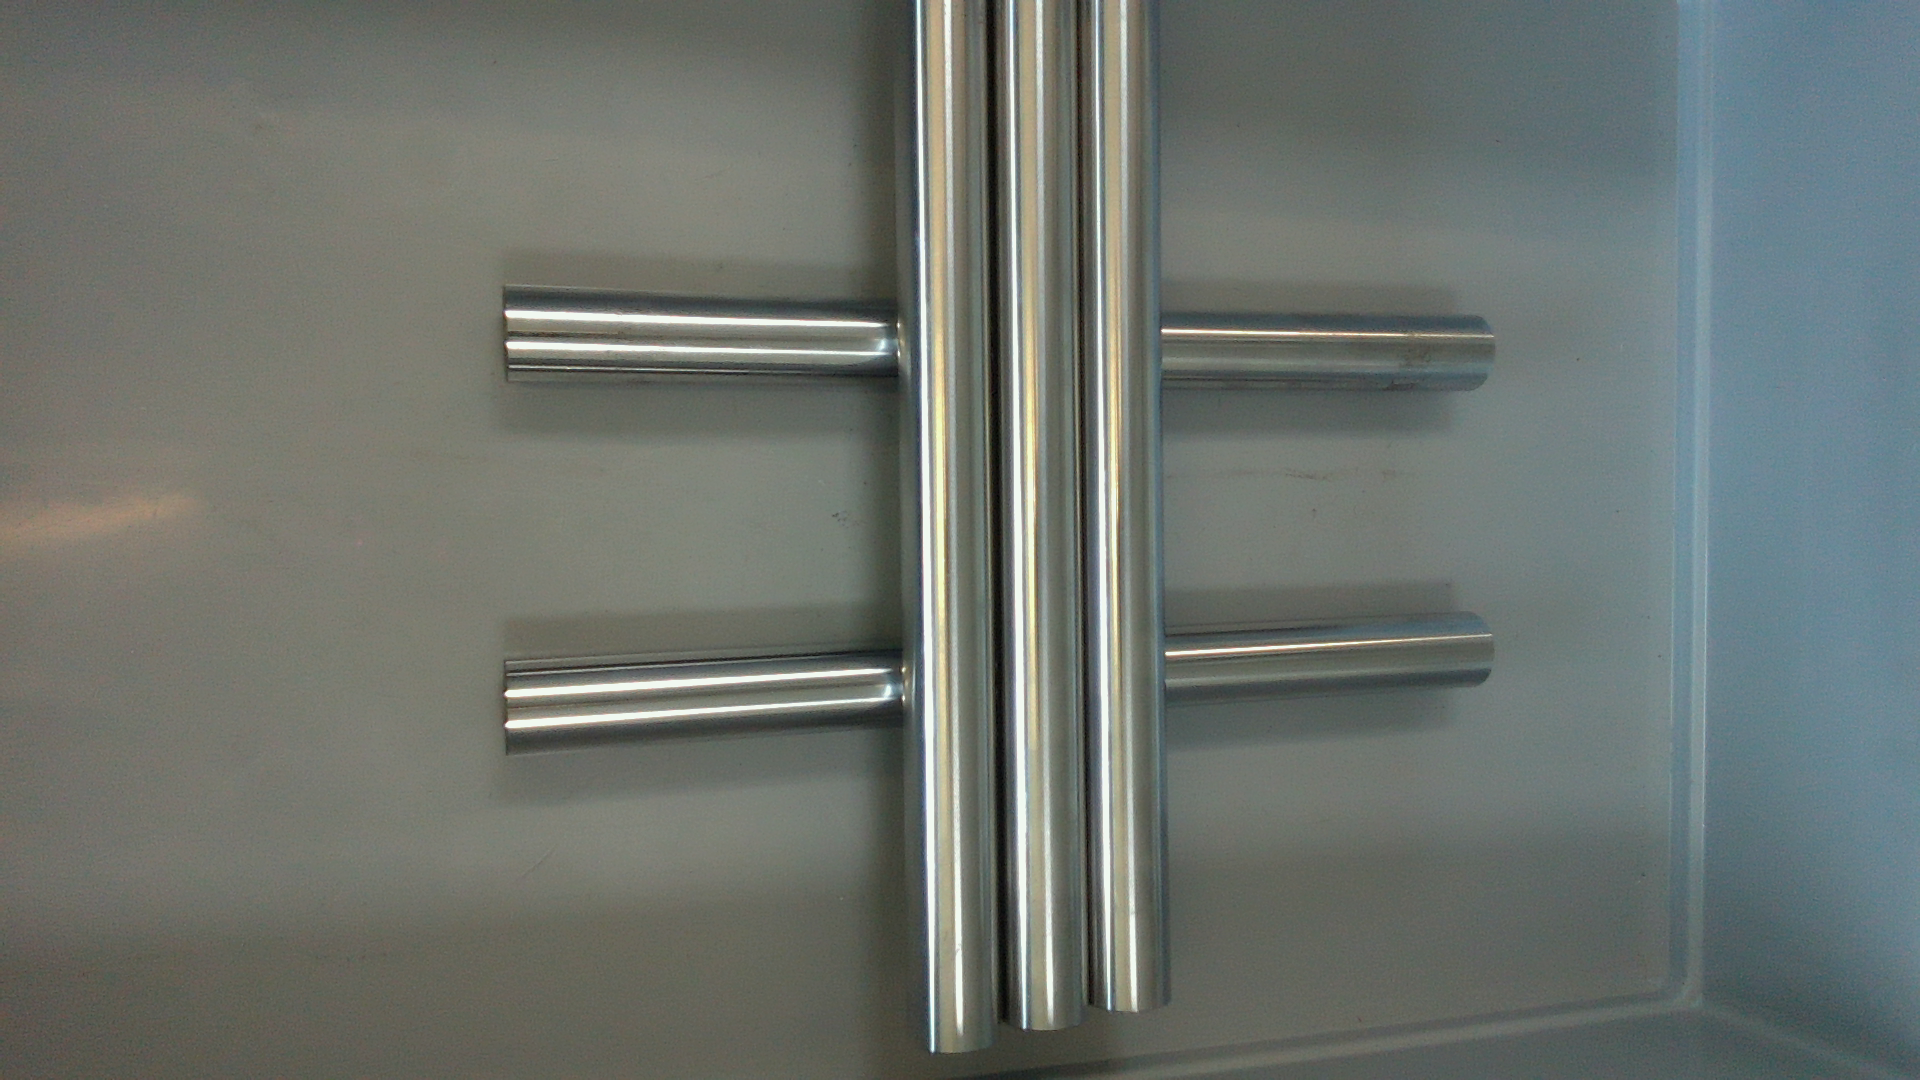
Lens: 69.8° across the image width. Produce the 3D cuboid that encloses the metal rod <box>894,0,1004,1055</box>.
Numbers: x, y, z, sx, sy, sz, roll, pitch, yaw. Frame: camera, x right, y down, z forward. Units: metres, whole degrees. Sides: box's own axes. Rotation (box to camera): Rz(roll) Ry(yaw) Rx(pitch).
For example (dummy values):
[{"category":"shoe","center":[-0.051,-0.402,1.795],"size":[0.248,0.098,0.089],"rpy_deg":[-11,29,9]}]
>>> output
[{"category":"metal rod","center":[-0.003,-0.018,0.364],"size":[0.025,0.025,0.300],"rpy_deg":[-1,90,-20]}]

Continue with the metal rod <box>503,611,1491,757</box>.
[{"category":"metal rod","center":[0.025,0.039,0.402],"size":[0.301,0.025,0.025],"rpy_deg":[-1,91,-20]}]

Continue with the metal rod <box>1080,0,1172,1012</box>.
[{"category":"metal rod","center":[0.044,-0.023,0.381],"size":[0.025,0.025,0.300],"rpy_deg":[-1,90,-20]}]

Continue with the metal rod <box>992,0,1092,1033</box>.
[{"category":"metal rod","center":[0.021,-0.021,0.373],"size":[0.025,0.025,0.300],"rpy_deg":[-1,90,-20]}]

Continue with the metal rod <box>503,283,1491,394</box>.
[{"category":"metal rod","center":[0.025,-0.057,0.402],"size":[0.301,0.025,0.025],"rpy_deg":[-2,91,-20]}]
